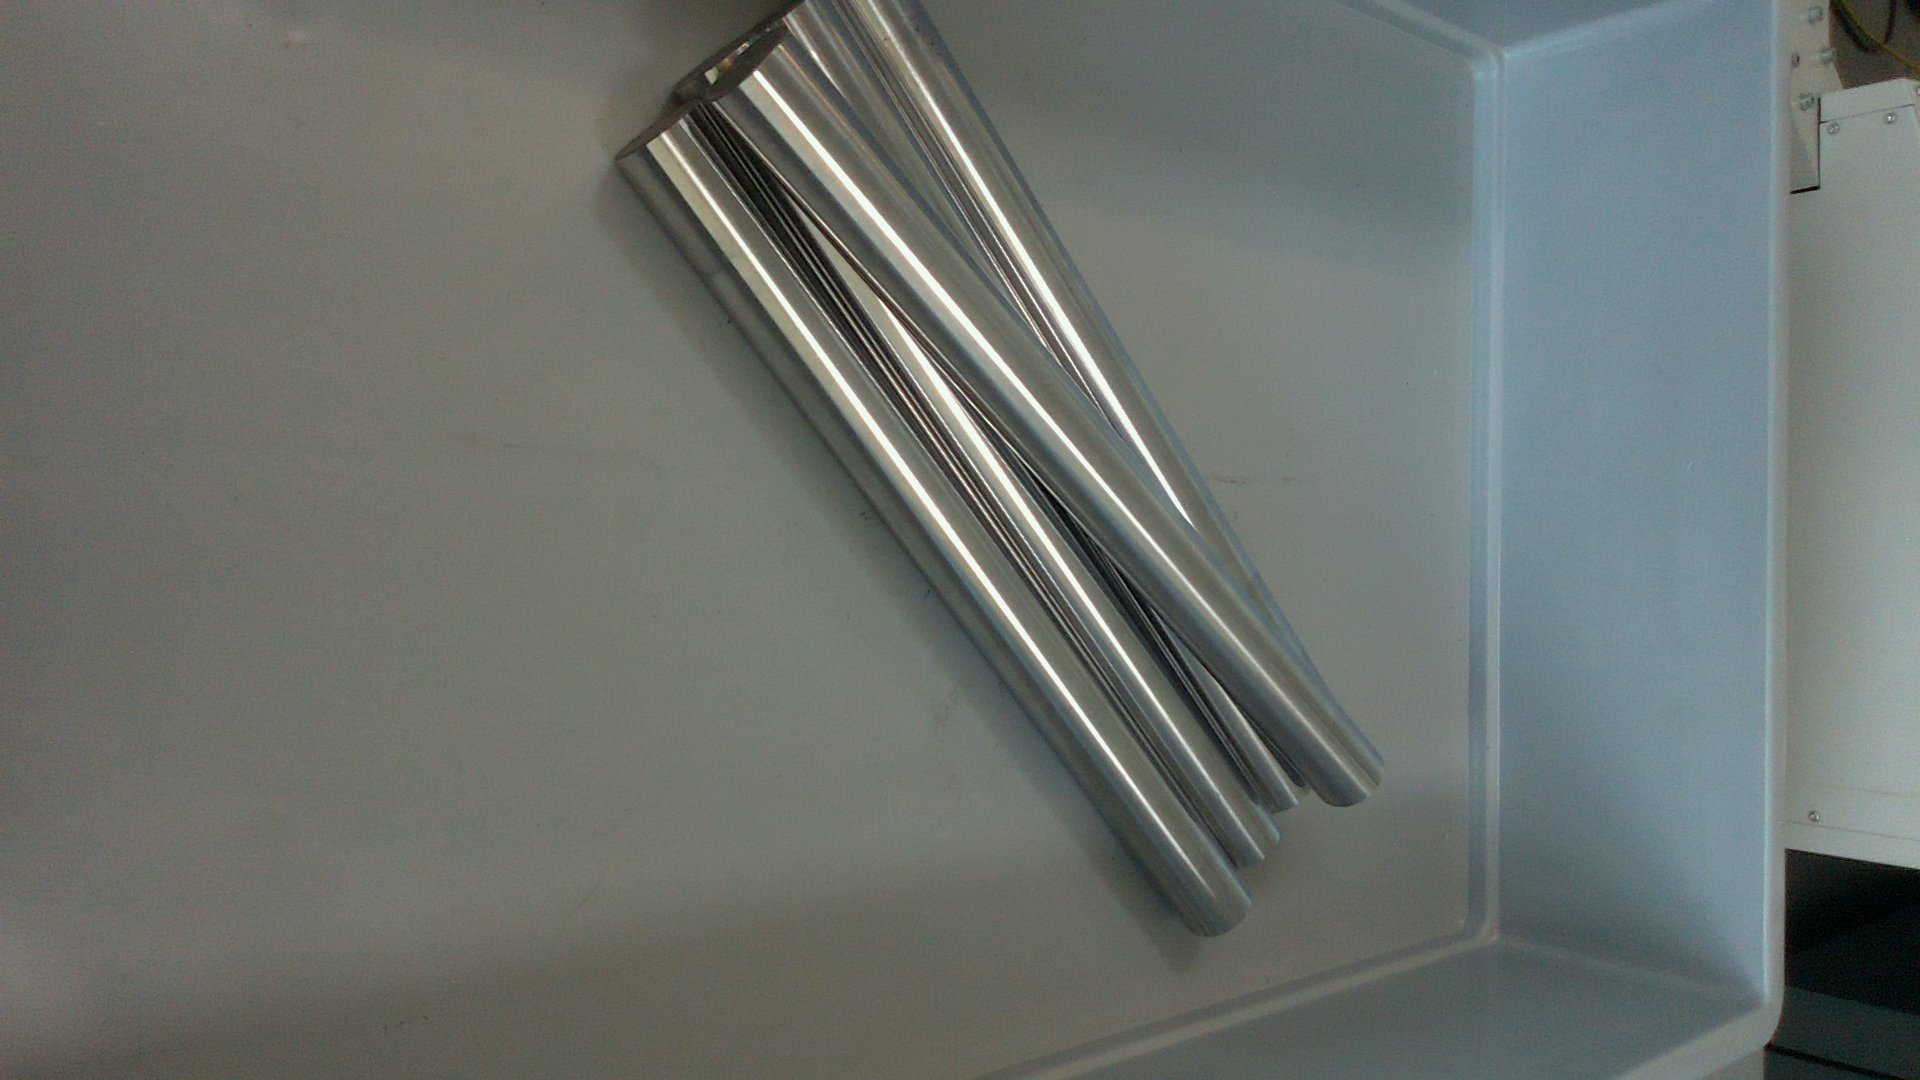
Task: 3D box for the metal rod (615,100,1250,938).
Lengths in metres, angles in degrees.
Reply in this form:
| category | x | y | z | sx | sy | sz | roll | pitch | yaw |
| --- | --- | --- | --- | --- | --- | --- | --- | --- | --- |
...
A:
| category | x | y | z | sx | sy | sz | roll | pitch | yaw |
| --- | --- | --- | --- | --- | --- | --- | --- | --- | --- |
| metal rod | 0.007 | 0.012 | 0.393 | 0.025 | 0.025 | 0.301 | -50 | 120 | -28 |

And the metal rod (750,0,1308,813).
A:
| category | x | y | z | sx | sy | sz | roll | pitch | yaw |
| --- | --- | --- | --- | --- | --- | --- | --- | --- | --- |
| metal rod | 0.033 | -0.024 | 0.415 | 0.025 | 0.025 | 0.301 | -50 | 120 | -28 |

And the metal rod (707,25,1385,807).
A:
| category | x | y | z | sx | sy | sz | roll | pitch | yaw |
| --- | --- | --- | --- | --- | --- | --- | --- | --- | --- |
| metal rod | 0.042 | -0.015 | 0.389 | 0.301 | 0.025 | 0.025 | 46 | 63 | -30 |

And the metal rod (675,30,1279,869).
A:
| category | x | y | z | sx | sy | sz | roll | pitch | yaw |
| --- | --- | --- | --- | --- | --- | --- | --- | --- | --- |
| metal rod | 0.019 | -0.008 | 0.403 | 0.025 | 0.025 | 0.301 | -50 | 120 | -28 |

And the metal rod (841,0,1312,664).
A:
| category | x | y | z | sx | sy | sz | roll | pitch | yaw |
| --- | --- | --- | --- | --- | --- | --- | --- | --- | --- |
| metal rod | 0.046 | -0.044 | 0.425 | 0.025 | 0.025 | 0.301 | -50 | 120 | -28 |
